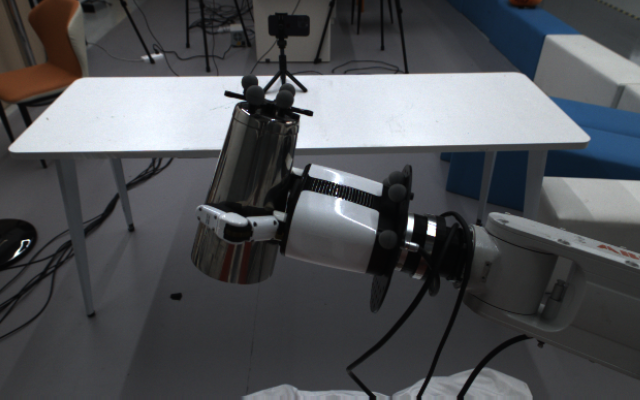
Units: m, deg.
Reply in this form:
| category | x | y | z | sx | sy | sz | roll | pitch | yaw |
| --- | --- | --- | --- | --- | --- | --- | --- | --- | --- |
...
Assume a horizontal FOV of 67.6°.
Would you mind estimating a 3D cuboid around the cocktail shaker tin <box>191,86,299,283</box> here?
| category | x | y | z | sx | sy | sz | roll | pitch | yaw |
| --- | --- | --- | --- | --- | --- | --- | --- | --- | --- |
| cocktail shaker tin | -0.071 | -0.008 | 0.505 | 0.093 | 0.170 | 0.093 | 15 | 19 | -5 |
